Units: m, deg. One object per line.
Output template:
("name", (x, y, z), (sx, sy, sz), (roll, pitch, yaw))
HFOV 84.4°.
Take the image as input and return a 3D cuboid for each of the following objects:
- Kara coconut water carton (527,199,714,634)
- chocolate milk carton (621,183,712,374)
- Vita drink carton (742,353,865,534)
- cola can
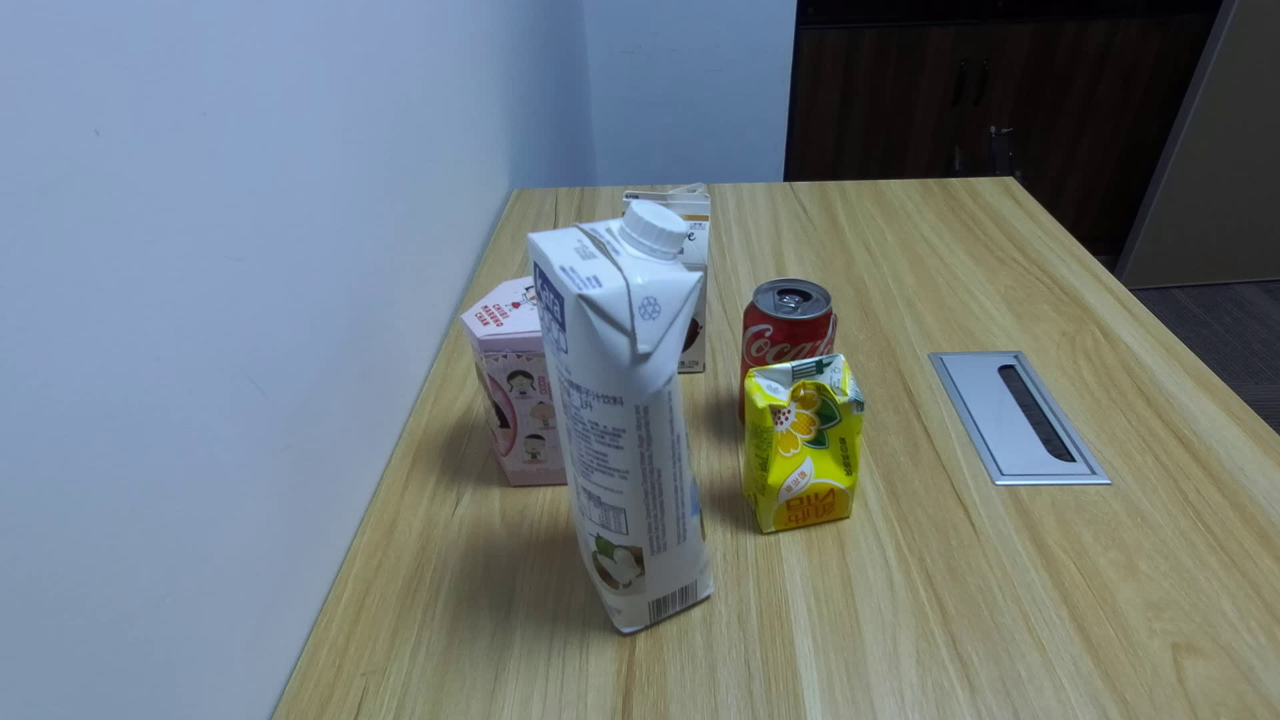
("Kara coconut water carton", (-0.006, 0.037, 0.381), (0.071, 0.244, 0.099), (-17, 38, -19))
("chocolate milk carton", (0.018, -0.071, 0.598), (0.084, 0.155, 0.073), (-1, 36, 4))
("Vita drink carton", (0.105, 0.056, 0.456), (0.071, 0.110, 0.046), (-9, 34, -7))
("cola can", (0.109, 0.002, 0.525), (0.068, 0.120, 0.067), (-1, 36, 1))
